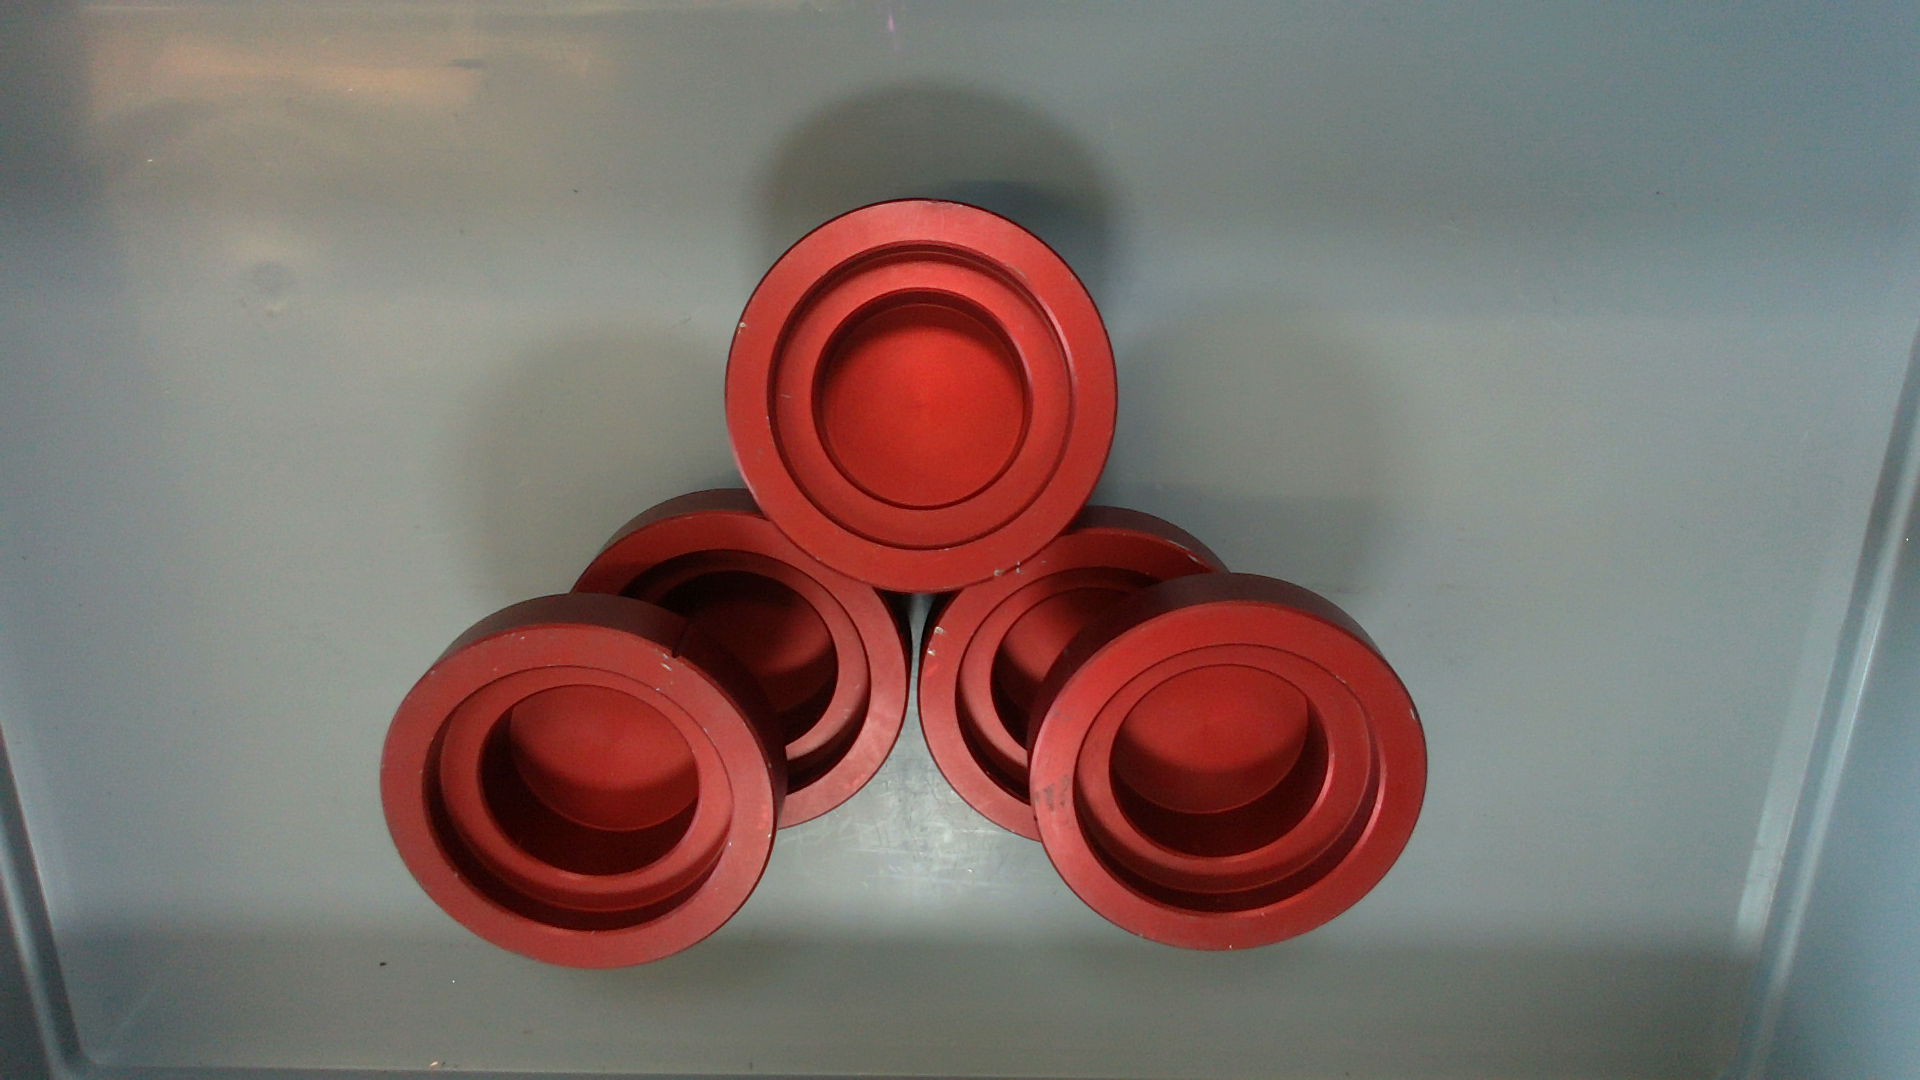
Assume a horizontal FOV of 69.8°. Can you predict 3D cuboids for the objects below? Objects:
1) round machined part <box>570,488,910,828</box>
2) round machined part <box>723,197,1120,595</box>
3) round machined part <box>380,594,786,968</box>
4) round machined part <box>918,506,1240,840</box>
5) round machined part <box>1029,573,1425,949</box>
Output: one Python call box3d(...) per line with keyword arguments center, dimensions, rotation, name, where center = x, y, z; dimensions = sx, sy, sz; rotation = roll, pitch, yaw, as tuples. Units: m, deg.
box3d(center=(-0.063, 0.031, 0.395), dimensions=(0.098, 0.042, 0.098), rotation=(0, 110, 0), name="round machined part")
box3d(center=(-0.010, -0.036, 0.360), dimensions=(0.098, 0.042, 0.098), rotation=(0, 92, -1), name="round machined part")
box3d(center=(-0.094, 0.059, 0.361), dimensions=(0.098, 0.042, 0.098), rotation=(0, 110, 0), name="round machined part")
box3d(center=(0.037, 0.036, 0.398), dimensions=(0.098, 0.042, 0.098), rotation=(0, 110, 0), name="round machined part")
box3d(center=(0.066, 0.054, 0.360), dimensions=(0.098, 0.042, 0.098), rotation=(0, 110, 0), name="round machined part")
